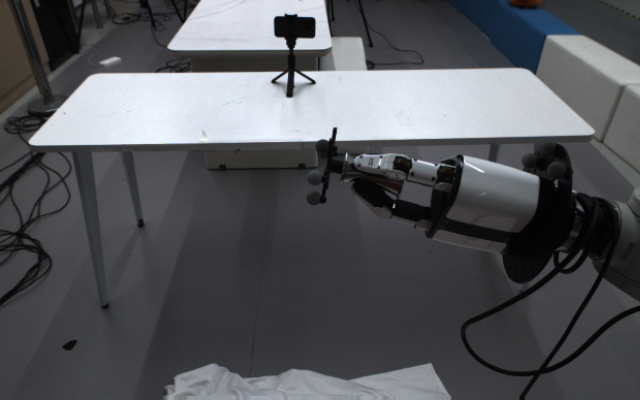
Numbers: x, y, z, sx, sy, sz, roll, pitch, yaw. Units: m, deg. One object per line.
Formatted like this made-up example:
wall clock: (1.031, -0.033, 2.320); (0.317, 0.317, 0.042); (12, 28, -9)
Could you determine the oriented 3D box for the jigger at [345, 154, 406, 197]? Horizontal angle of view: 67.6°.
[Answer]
jigger: (0.067, -0.034, 0.550); (0.071, 0.043, 0.043); (11, 35, 3)
